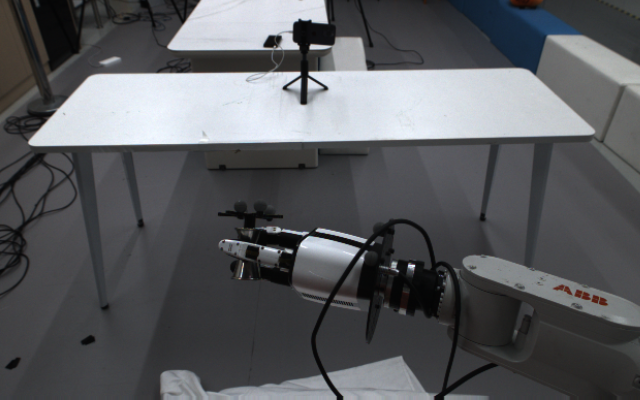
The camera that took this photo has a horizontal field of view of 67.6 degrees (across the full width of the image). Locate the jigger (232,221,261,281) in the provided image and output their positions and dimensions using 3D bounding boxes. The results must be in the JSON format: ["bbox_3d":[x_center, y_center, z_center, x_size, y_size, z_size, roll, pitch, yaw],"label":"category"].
[{"bbox_3d":[-0.096,0.072,0.651,0.043,0.071,0.043,2,-6,0],"label":"jigger"}]
